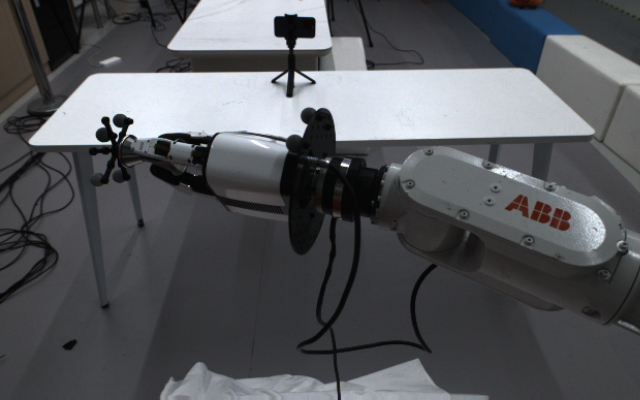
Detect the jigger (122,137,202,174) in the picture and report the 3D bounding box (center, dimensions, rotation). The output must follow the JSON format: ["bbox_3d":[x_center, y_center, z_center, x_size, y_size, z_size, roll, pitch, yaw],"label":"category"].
[{"bbox_3d":[-0.193,-0.057,0.571,0.071,0.043,0.043,7,35,13],"label":"jigger"}]
